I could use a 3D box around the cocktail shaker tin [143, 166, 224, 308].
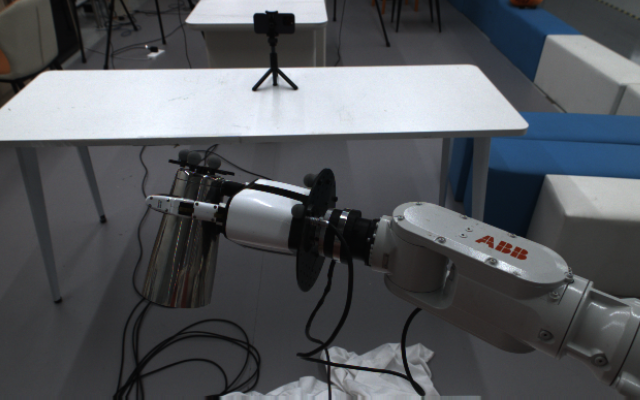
[{"bbox_3d":[-0.175,0.046,0.651,0.093,0.170,0.093,13,3,-1],"label":"cocktail shaker tin"}]
